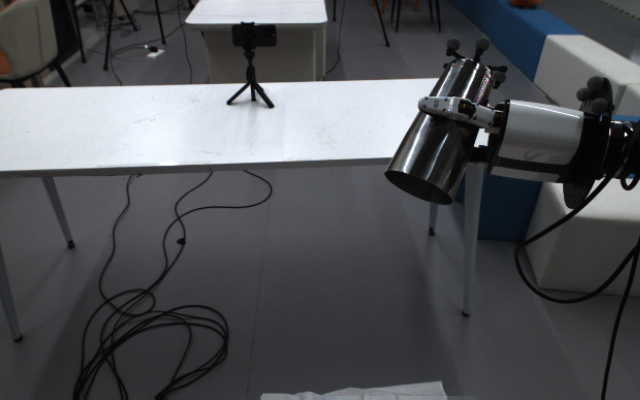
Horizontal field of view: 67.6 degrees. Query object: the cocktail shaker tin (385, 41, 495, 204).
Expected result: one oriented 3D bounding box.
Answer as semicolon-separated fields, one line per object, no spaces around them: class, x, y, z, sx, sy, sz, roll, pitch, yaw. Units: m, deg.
cocktail shaker tin;0.161;-0.093;0.618;0.093;0.093;0.170;21;81;25
